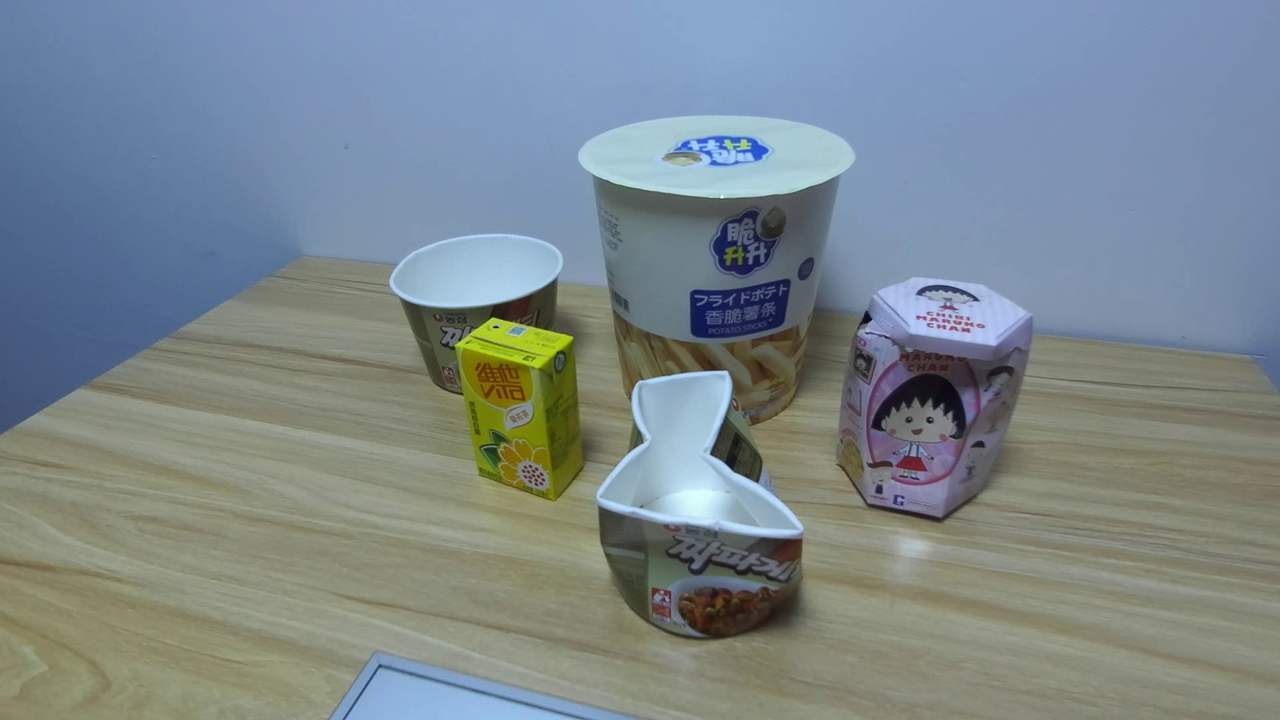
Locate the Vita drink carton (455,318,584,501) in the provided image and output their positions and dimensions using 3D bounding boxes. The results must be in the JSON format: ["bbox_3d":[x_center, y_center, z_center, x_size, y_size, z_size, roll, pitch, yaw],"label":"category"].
[{"bbox_3d":[-0.077,0.033,0.472,0.066,0.109,0.043,14,36,24],"label":"Vita drink carton"}]

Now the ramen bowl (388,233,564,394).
[{"bbox_3d":[-0.130,-0.037,0.599,0.140,0.095,0.140,-1,33,1],"label":"ramen bowl"}]

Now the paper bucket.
[{"bbox_3d":[0.054,-0.065,0.540,0.198,0.195,0.198,-1,33,1],"label":"paper bucket"}]

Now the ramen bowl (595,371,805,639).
[{"bbox_3d":[0.038,0.078,0.403,0.111,0.093,0.128,4,34,9],"label":"ramen bowl"}]

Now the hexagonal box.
[{"bbox_3d":[0.181,0.023,0.453,0.090,0.134,0.090,-17,35,-27],"label":"hexagonal box"}]
